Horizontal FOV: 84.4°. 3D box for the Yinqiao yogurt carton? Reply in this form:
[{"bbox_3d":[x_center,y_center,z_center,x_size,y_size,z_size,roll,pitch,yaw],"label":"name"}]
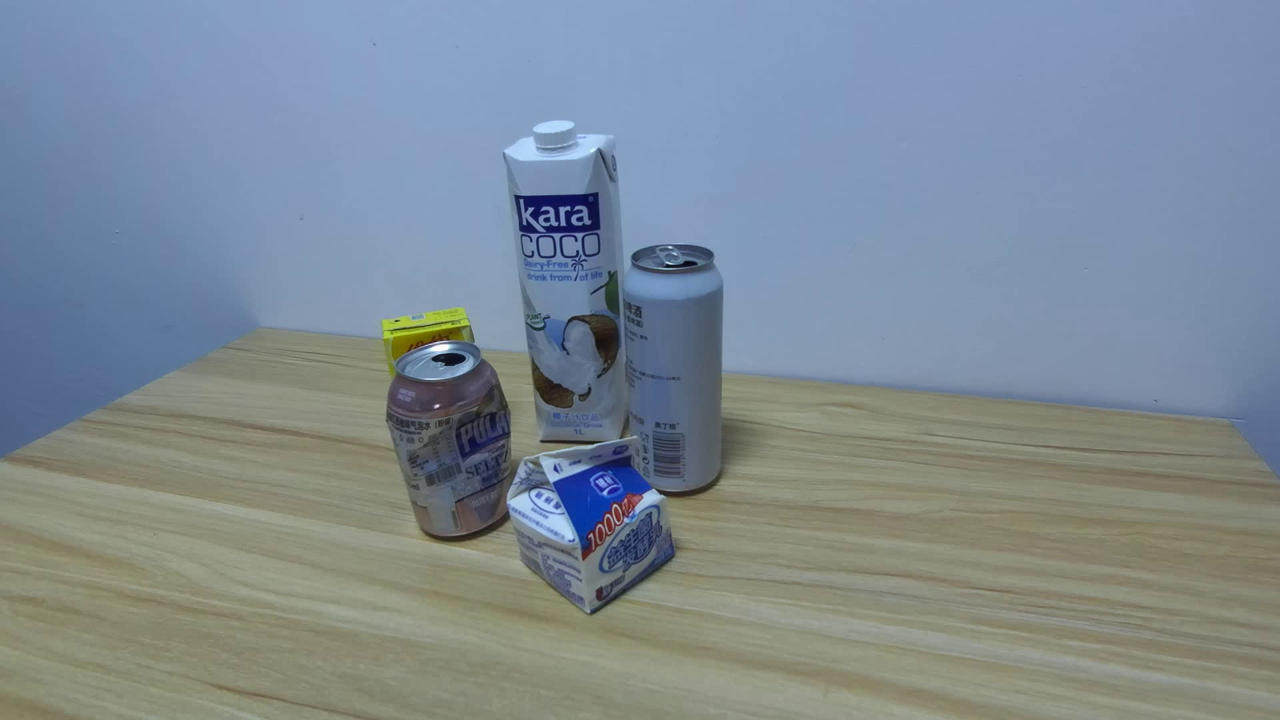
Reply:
[{"bbox_3d":[-0.031,0.085,0.427,0.083,0.093,0.077,-23,31,-37],"label":"Yinqiao yogurt carton"}]

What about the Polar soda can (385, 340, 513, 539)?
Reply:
[{"bbox_3d":[-0.123,0.054,0.472,0.074,0.122,0.067,-6,25,-5],"label":"Polar soda can"}]

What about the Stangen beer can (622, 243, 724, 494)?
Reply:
[{"bbox_3d":[0.024,0.008,0.491,0.067,0.171,0.067,-2,26,1],"label":"Stangen beer can"}]
